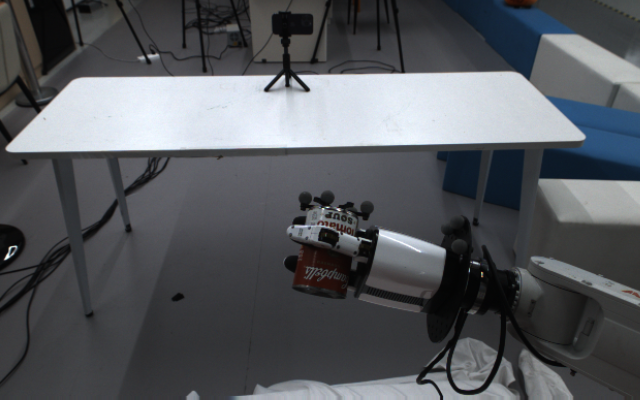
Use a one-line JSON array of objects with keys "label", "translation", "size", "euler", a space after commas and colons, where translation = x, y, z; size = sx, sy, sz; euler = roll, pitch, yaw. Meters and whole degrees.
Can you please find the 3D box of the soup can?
[{"label": "soup can", "translation": [0.009, 0.065, 0.596], "size": [0.067, 0.067, 0.101], "euler": [8, 71, 9]}]
